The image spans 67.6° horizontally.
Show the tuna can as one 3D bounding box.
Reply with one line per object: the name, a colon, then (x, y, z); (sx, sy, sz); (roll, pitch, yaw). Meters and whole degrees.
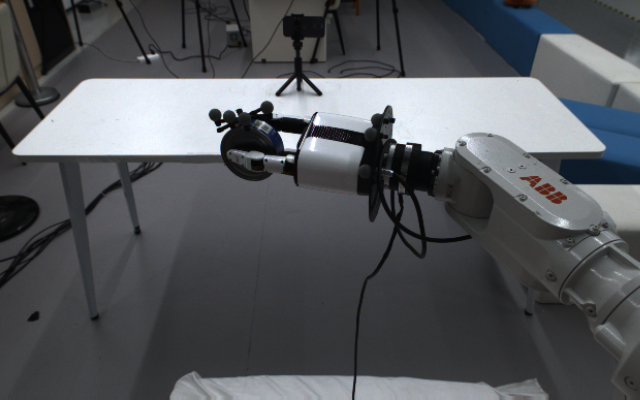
tuna can: (-0.092, -0.071, 0.692); (0.085, 0.085, 0.034); (9, 33, 10)
